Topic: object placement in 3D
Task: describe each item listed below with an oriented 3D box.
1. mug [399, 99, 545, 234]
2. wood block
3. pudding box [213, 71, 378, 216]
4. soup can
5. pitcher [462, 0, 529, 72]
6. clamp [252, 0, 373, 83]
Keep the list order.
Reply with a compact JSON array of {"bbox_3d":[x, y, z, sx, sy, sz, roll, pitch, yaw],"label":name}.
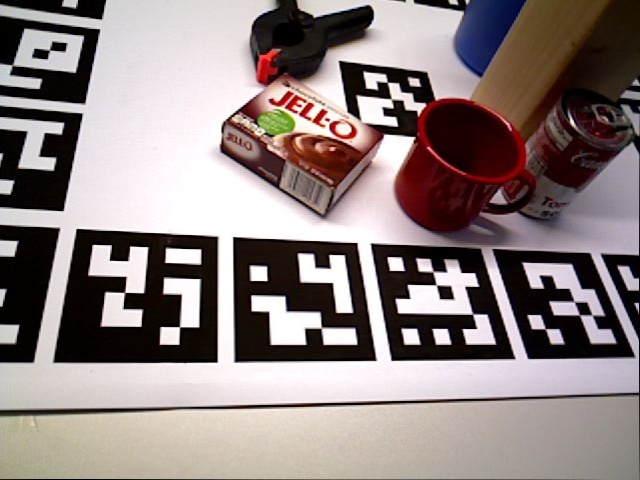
[{"bbox_3d":[0.126,-0.053,0.452,0.117,0.083,0.091,31,52,8],"label":"mug"},{"bbox_3d":[0.234,-0.176,0.483,0.089,0.211,0.090,1,56,-19],"label":"wood block"},{"bbox_3d":[-0.021,-0.083,0.463,0.114,0.039,0.088,32,58,8],"label":"pudding box"},{"bbox_3d":[0.216,-0.073,0.475,0.067,0.104,0.067,6,58,-11],"label":"soup can"},{"bbox_3d":[0.247,-0.285,0.539,0.187,0.248,0.131,0,55,-12],"label":"pitcher"},{"bbox_3d":[-0.021,-0.214,0.556,0.121,0.037,0.161,30,55,-4],"label":"clamp"}]
